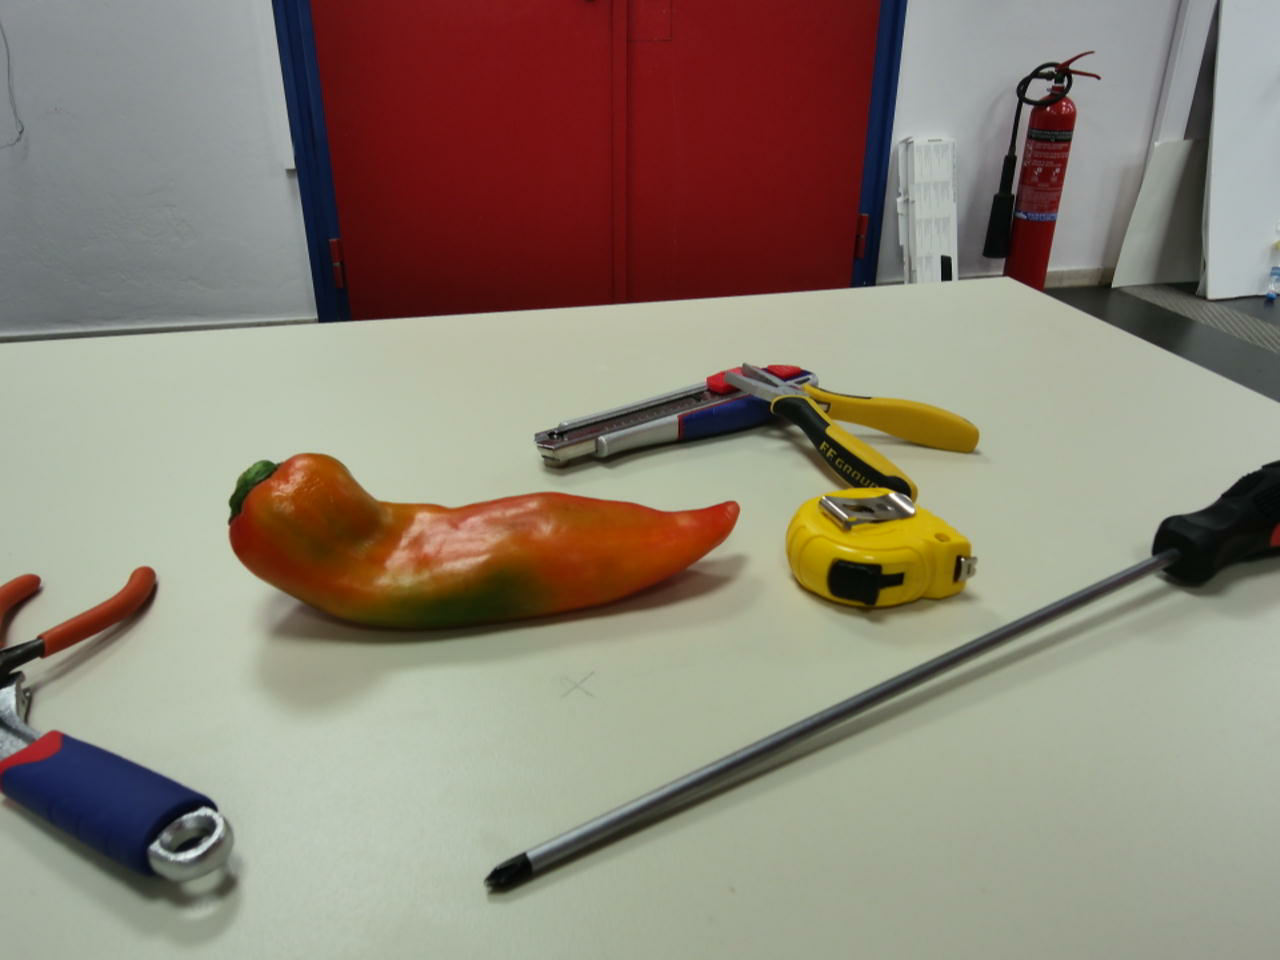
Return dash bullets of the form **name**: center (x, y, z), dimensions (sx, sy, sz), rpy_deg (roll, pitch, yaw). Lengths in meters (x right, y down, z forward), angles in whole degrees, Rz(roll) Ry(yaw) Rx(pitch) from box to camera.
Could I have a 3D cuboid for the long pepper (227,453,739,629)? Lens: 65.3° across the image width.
- **long pepper**: center (-0.056, 0.016, 0.393), dimensions (0.199, 0.065, 0.066), rpy_deg (-4, 25, -8)
